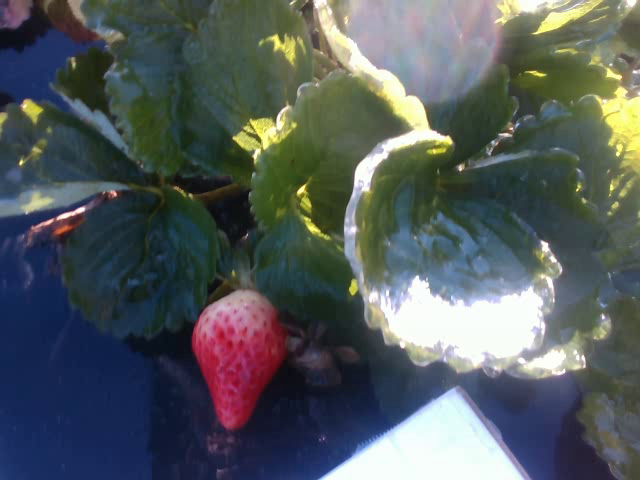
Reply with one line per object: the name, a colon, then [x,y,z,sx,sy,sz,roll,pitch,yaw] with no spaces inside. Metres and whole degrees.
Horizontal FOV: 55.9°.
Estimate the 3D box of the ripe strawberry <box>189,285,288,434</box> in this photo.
ripe strawberry: [-0.041,0.052,0.247,0.040,0.065,0.040,2,-10,16]
